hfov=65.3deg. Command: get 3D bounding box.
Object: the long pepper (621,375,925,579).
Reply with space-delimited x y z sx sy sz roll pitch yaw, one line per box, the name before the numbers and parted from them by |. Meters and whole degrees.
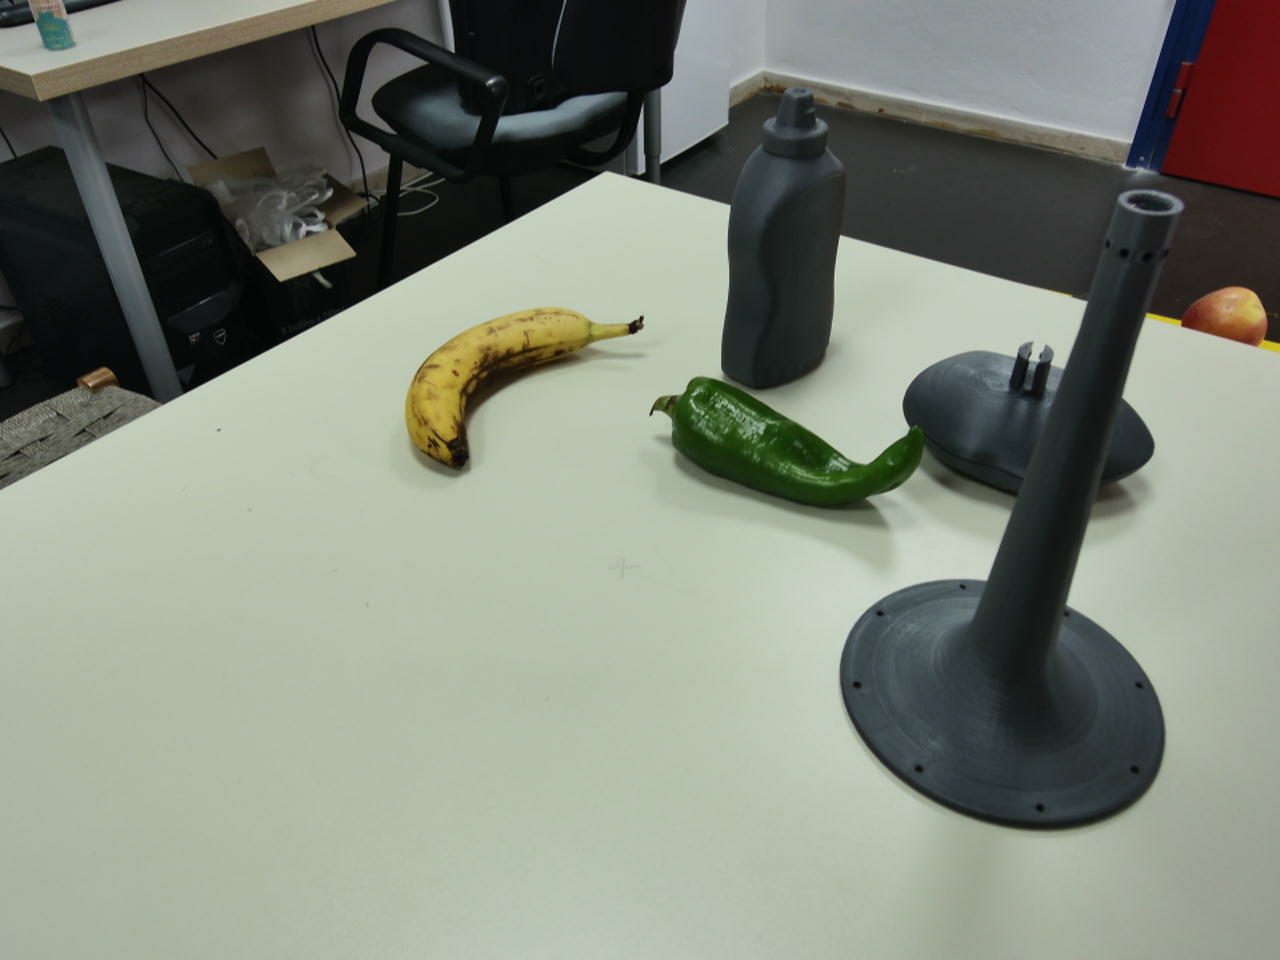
long pepper | 0.081 -0.026 0.598 0.175 0.065 0.058 23 43 28
